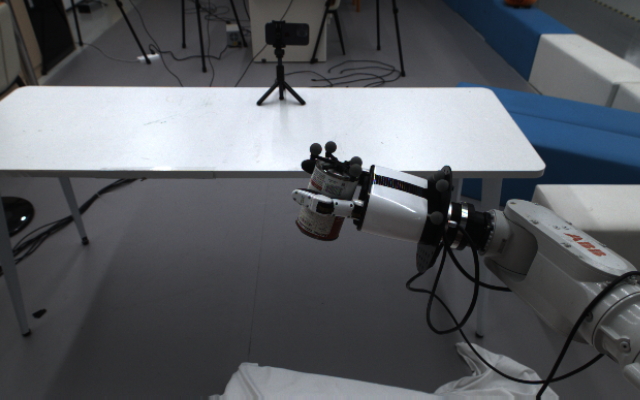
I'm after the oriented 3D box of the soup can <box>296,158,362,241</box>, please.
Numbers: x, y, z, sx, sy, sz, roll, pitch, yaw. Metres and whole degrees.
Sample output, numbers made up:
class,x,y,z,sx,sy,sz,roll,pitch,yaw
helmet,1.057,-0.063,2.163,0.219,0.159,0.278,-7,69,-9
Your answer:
class,x,y,z,sx,sy,sz,roll,pitch,yaw
soup can,0.012,0.000,0.703,0.067,0.101,0.067,17,21,-7
